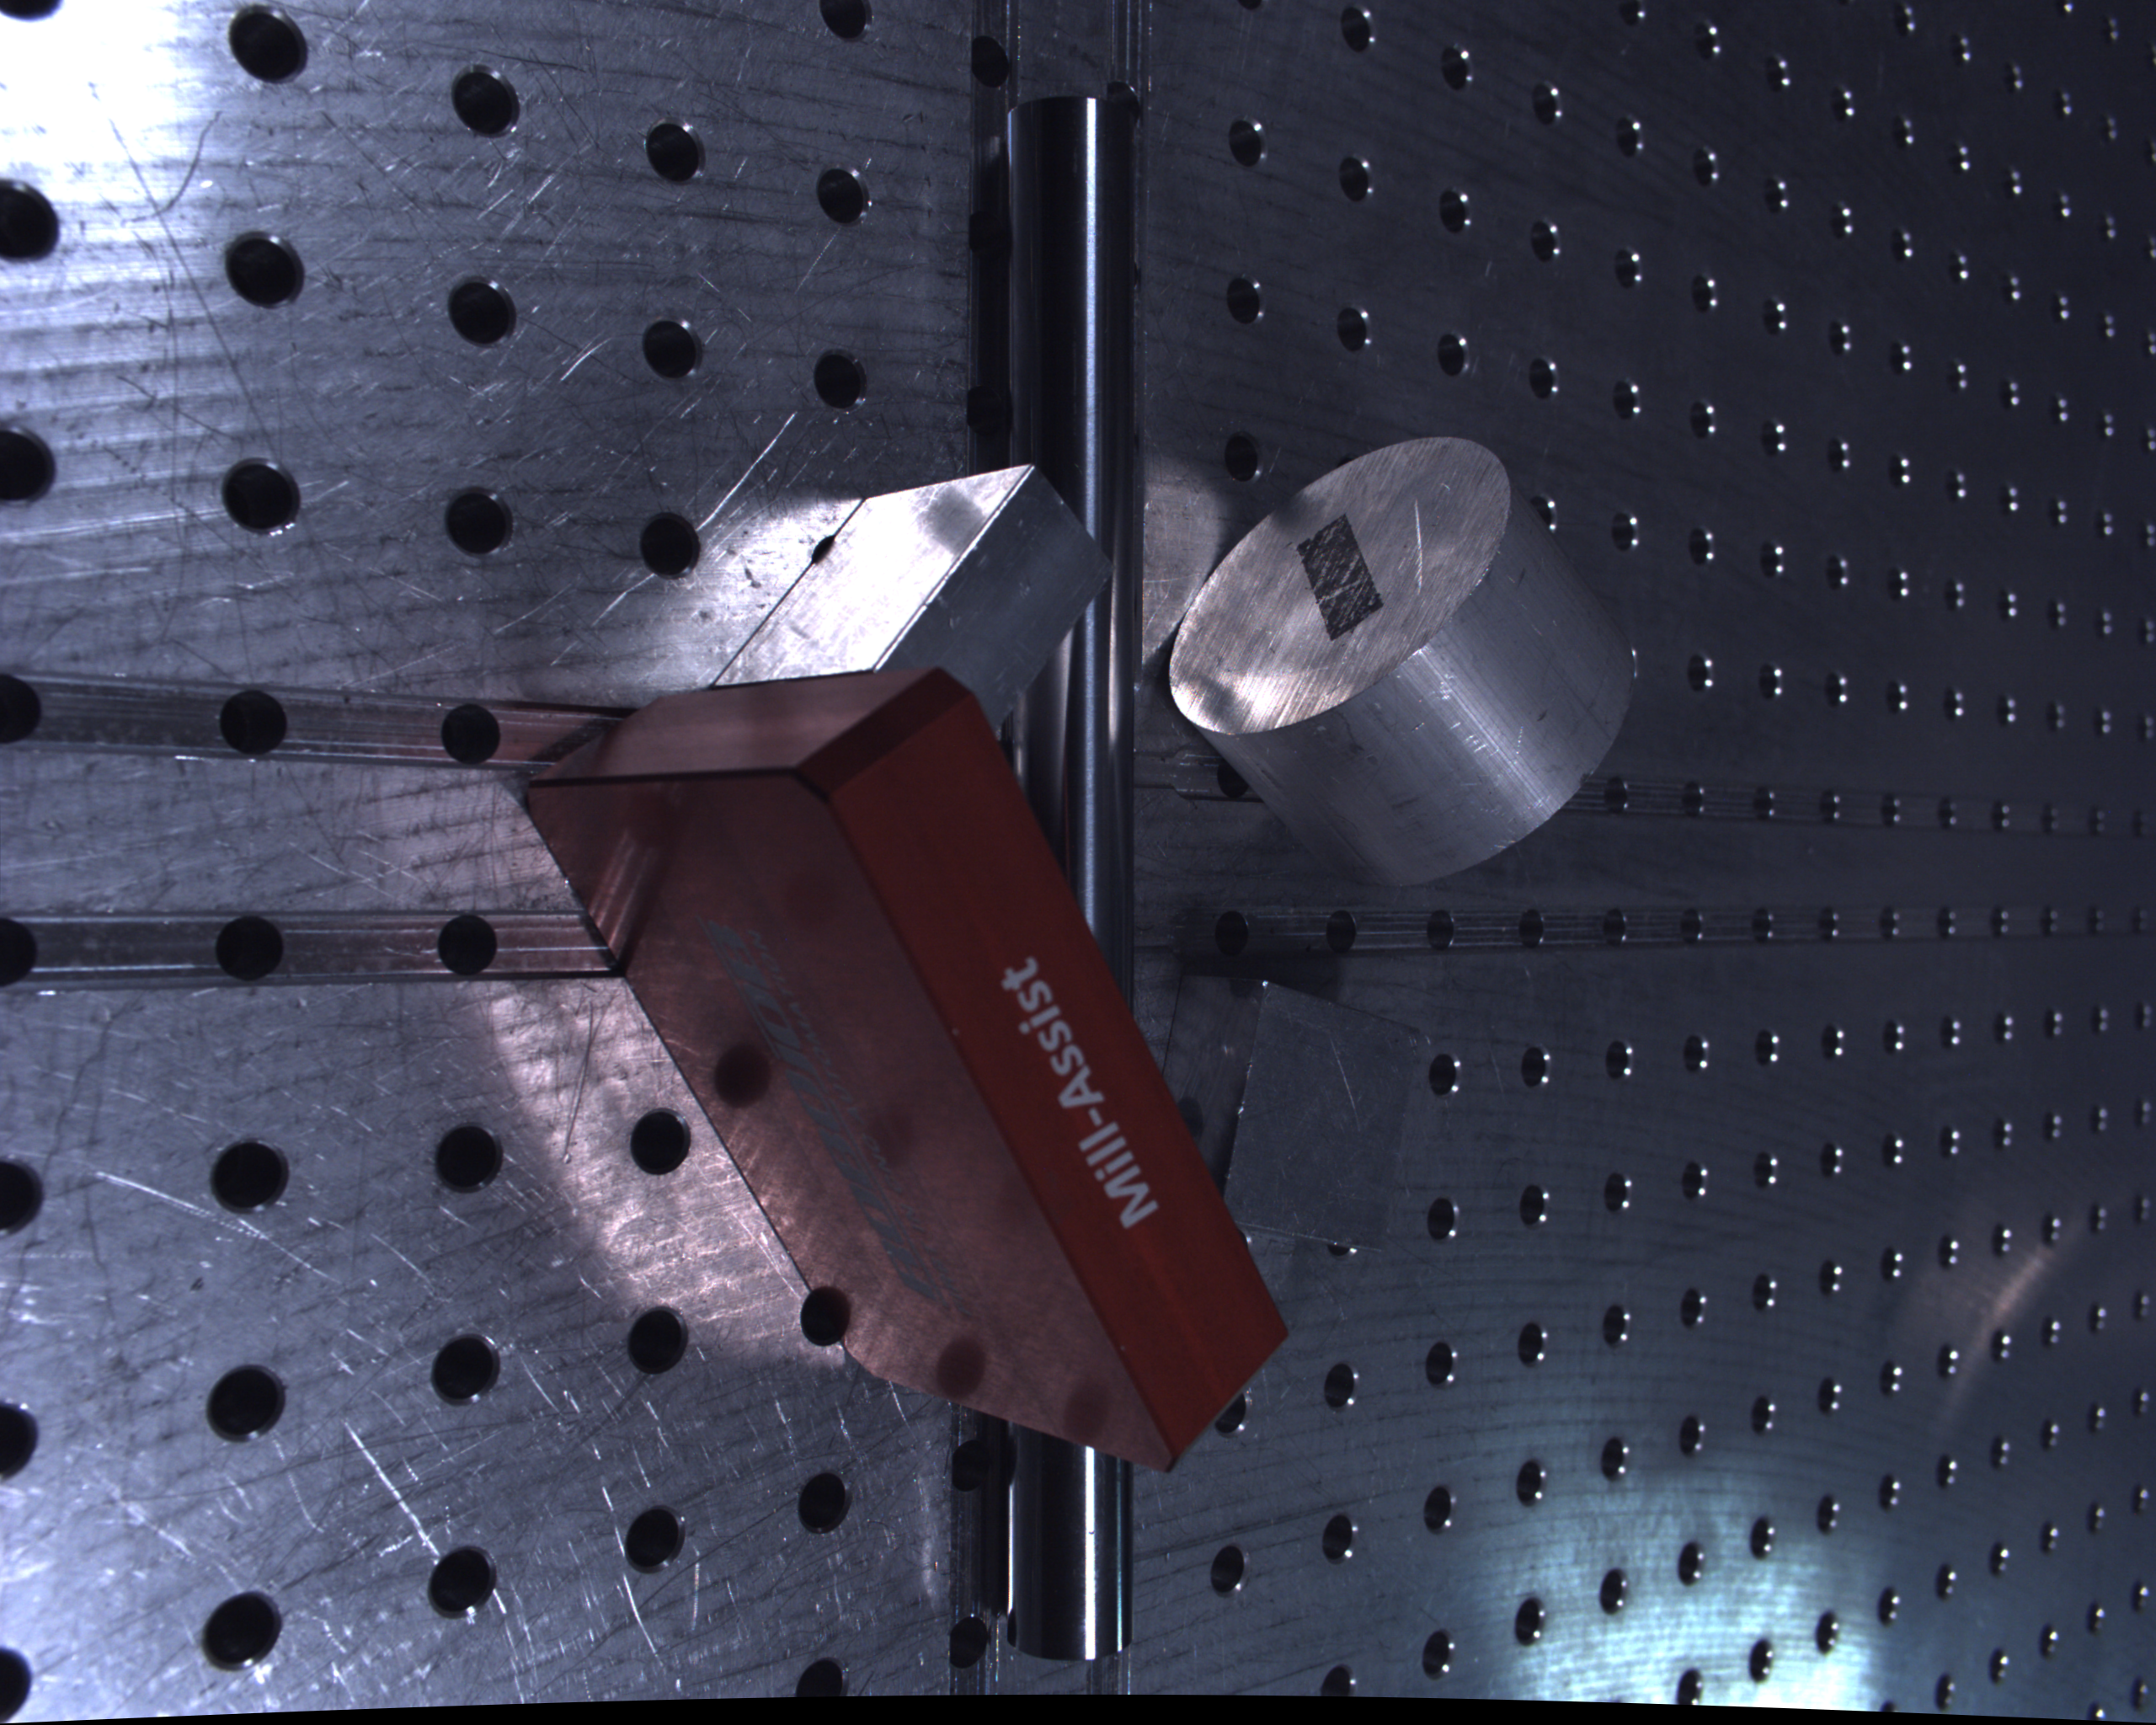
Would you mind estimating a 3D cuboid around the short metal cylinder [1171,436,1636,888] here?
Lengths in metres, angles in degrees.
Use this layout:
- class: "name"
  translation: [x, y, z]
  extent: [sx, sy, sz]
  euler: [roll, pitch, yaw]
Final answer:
- class: "short metal cylinder"
  translation: [0.067, -0.041, 0.431]
  extent: [0.050, 0.080, 0.080]
  euler: [46, 63, -31]

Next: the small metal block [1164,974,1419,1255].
- class: "small metal block"
  translation: [0.043, 0.054, 0.449]
  extent: [0.050, 0.025, 0.050]
  euler: [19, 78, -39]

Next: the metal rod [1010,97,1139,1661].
- class: "metal rod"
  translation: [-0.001, 0.003, 0.410]
  extent: [0.025, 0.025, 0.298]
  euler: [0, 90, -40]

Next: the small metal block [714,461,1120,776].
- class: "small metal block"
  translation: [-0.029, -0.042, 0.369]
  extent: [0.025, 0.050, 0.050]
  euler: [49, 61, -29]

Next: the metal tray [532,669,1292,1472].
- class: "metal tray"
  translation: [-0.028, 0.034, 0.344]
  extent: [0.030, 0.090, 0.129]
  euler: [-40, 115, -33]
